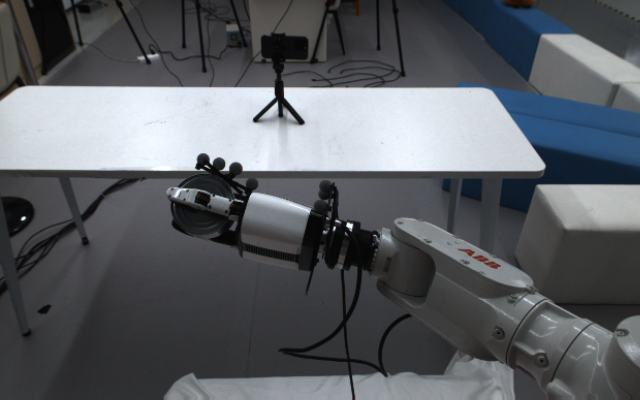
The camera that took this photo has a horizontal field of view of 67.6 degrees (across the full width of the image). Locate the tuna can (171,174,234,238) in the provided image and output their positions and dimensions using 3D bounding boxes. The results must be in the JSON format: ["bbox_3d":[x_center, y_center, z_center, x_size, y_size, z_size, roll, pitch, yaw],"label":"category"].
[{"bbox_3d":[-0.156,0.009,0.662,0.085,0.034,0.085,0,72,0],"label":"tuna can"}]
